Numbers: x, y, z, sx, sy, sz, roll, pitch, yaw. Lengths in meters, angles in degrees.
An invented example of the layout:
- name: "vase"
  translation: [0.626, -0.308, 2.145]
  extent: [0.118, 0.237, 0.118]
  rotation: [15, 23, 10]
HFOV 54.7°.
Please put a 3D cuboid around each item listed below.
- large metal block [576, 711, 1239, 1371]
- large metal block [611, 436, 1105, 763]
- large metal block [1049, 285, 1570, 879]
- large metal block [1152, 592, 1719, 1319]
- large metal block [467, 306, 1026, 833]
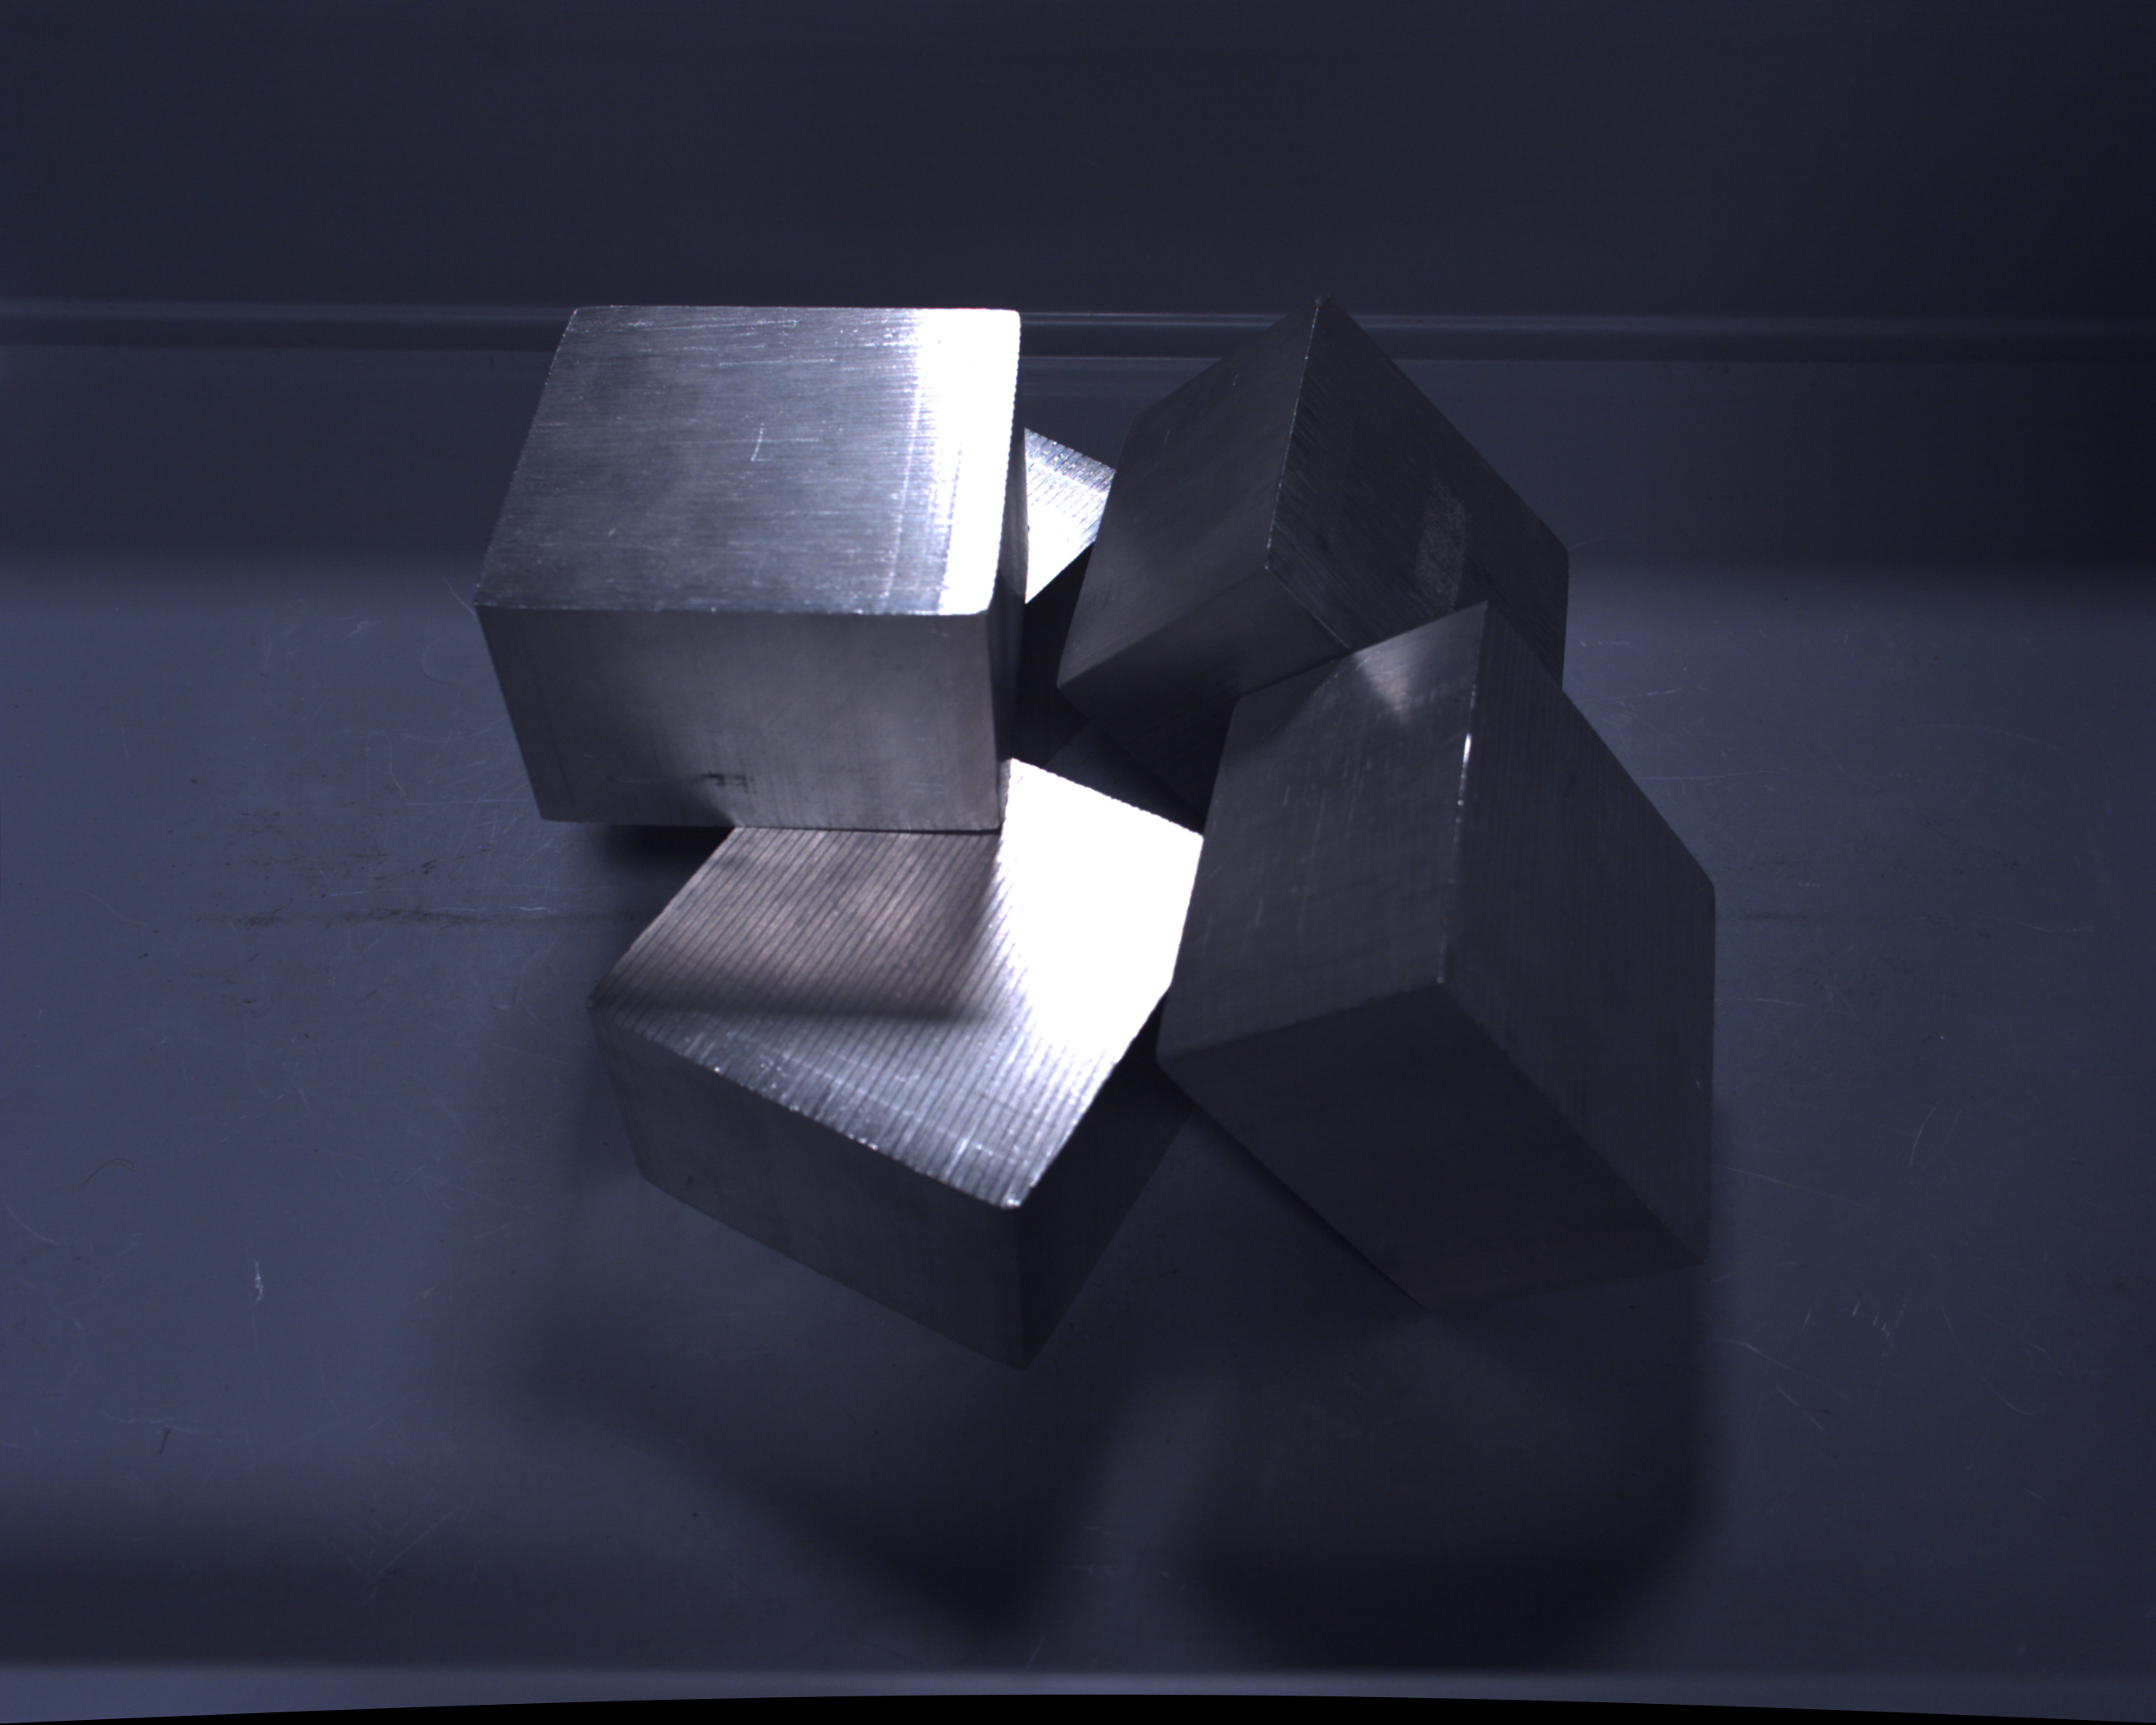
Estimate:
- name: "large metal block"
  translation: [-0.025, 0.026, 0.361]
  extent: [0.080, 0.050, 0.080]
  rotation: [24, 54, 18]
- name: "large metal block"
  translation: [-0.042, -0.052, 0.431]
  extent: [0.080, 0.050, 0.080]
  rotation: [29, 56, 22]
- name: "large metal block"
  translation: [0.048, -0.048, 0.400]
  extent: [0.080, 0.050, 0.080]
  rotation: [39, 45, -27]
- name: "large metal block"
  translation: [0.063, 0.017, 0.345]
  extent: [0.050, 0.080, 0.080]
  rotation: [-21, 39, 36]
- name: "large metal block"
  translation: [-0.051, -0.052, 0.363]
  extent: [0.080, 0.050, 0.080]
  rotation: [1, 49, 2]
